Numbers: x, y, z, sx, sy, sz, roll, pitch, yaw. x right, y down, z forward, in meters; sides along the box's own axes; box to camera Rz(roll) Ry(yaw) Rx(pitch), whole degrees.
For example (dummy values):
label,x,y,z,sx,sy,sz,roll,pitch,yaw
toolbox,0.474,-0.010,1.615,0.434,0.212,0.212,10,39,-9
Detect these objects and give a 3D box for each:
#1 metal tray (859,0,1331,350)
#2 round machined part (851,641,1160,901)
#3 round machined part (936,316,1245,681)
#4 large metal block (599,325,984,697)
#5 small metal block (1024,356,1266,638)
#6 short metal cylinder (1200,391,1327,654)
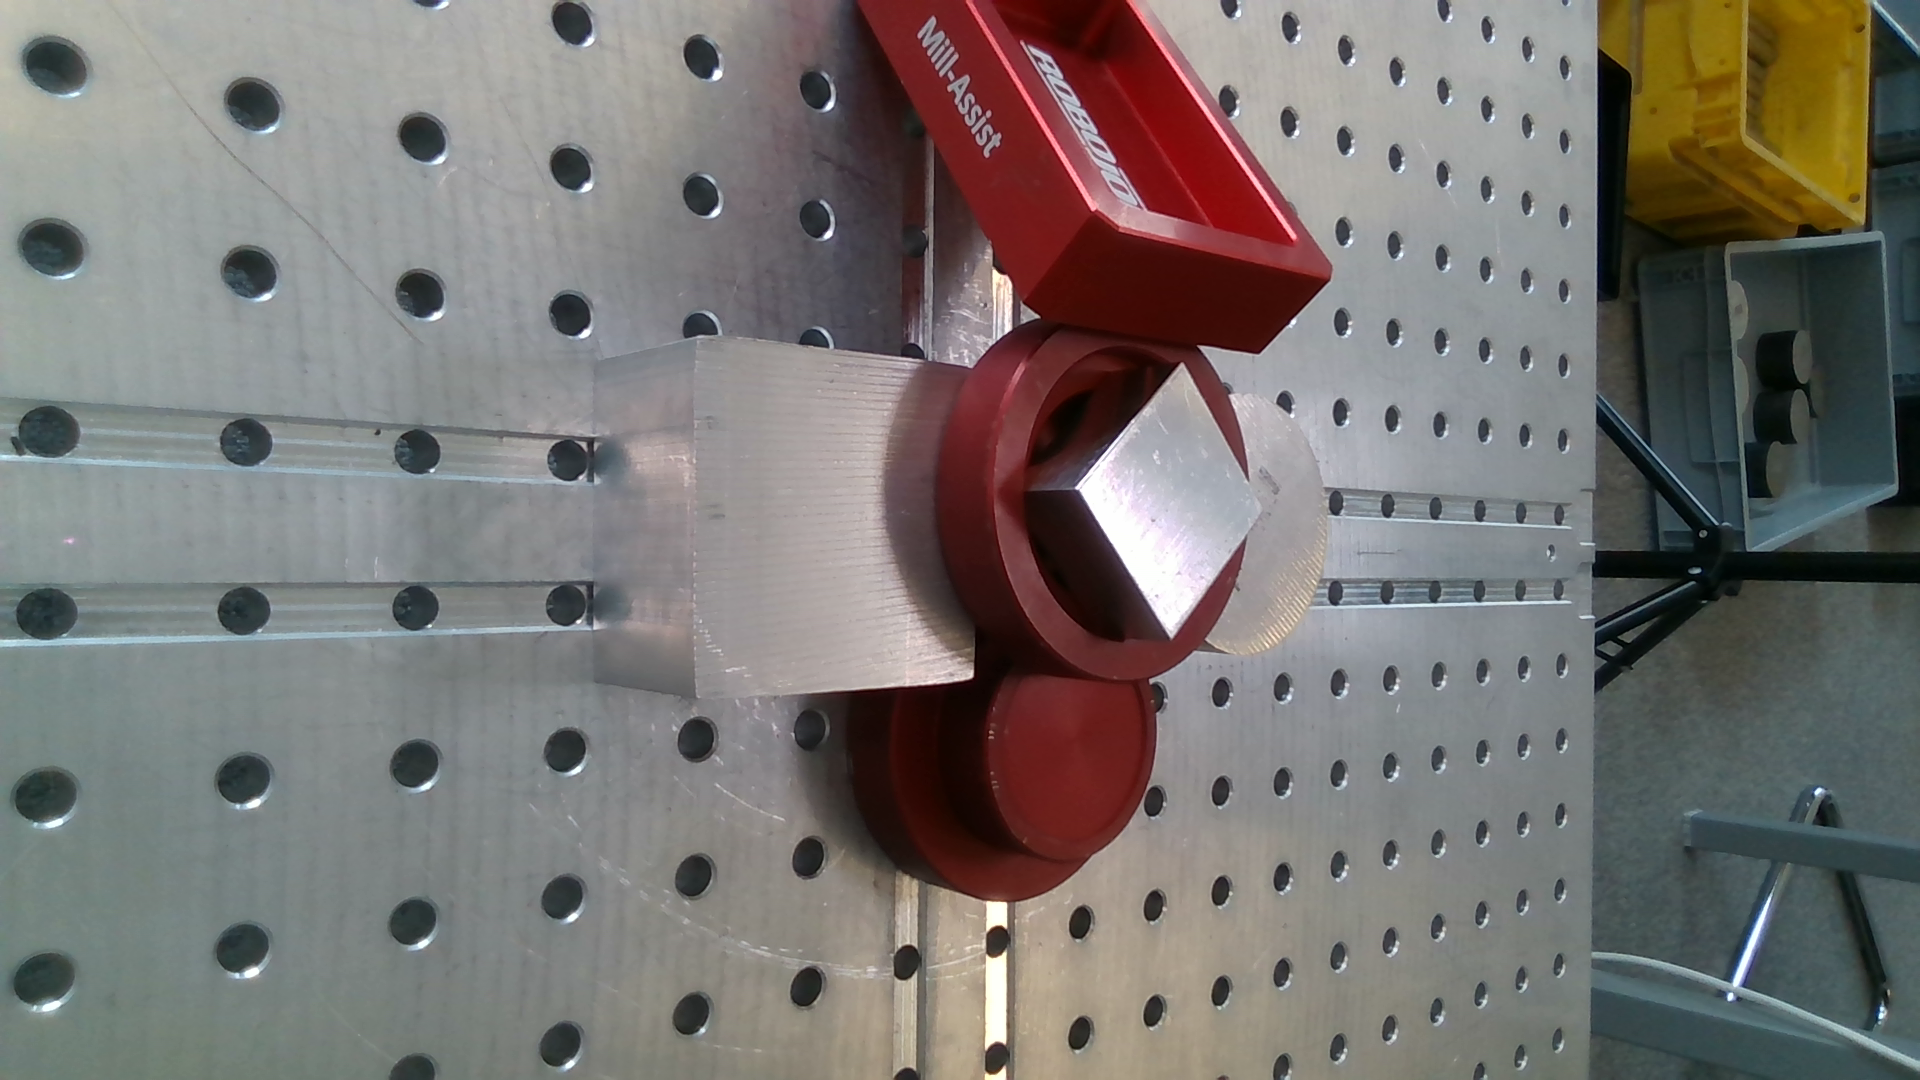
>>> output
label,x,y,z,sx,sy,sz,roll,pitch,yaw
metal tray,0.034,-0.113,0.372,0.090,0.030,0.130,1,52,-40
round machined part,0.020,0.055,0.399,0.098,0.042,0.098,0,90,-40
round machined part,0.031,-0.012,0.371,0.098,0.042,0.098,0,90,-40
large metal block,-0.040,-0.006,0.340,0.080,0.050,0.080,1,89,-40
small metal block,0.046,-0.011,0.353,0.050,0.025,0.050,-49,119,-29
short metal cylinder,0.072,-0.005,0.438,0.080,0.050,0.080,0,90,-40
